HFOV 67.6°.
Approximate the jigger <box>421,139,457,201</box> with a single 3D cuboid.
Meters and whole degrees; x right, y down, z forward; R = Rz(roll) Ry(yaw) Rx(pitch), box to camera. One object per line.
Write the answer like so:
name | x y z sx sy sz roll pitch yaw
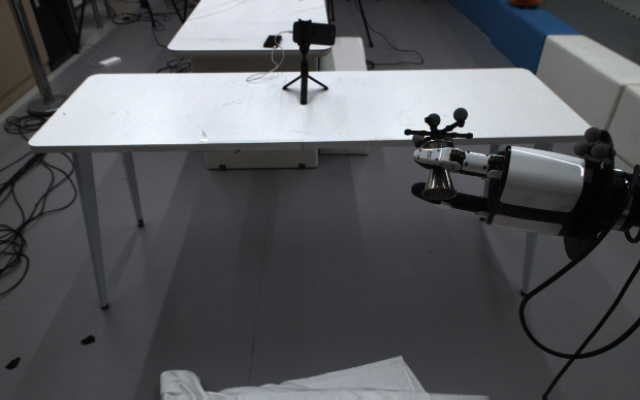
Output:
jigger | 0.152 -0.039 0.625 0.043 0.043 0.071 3 71 1
